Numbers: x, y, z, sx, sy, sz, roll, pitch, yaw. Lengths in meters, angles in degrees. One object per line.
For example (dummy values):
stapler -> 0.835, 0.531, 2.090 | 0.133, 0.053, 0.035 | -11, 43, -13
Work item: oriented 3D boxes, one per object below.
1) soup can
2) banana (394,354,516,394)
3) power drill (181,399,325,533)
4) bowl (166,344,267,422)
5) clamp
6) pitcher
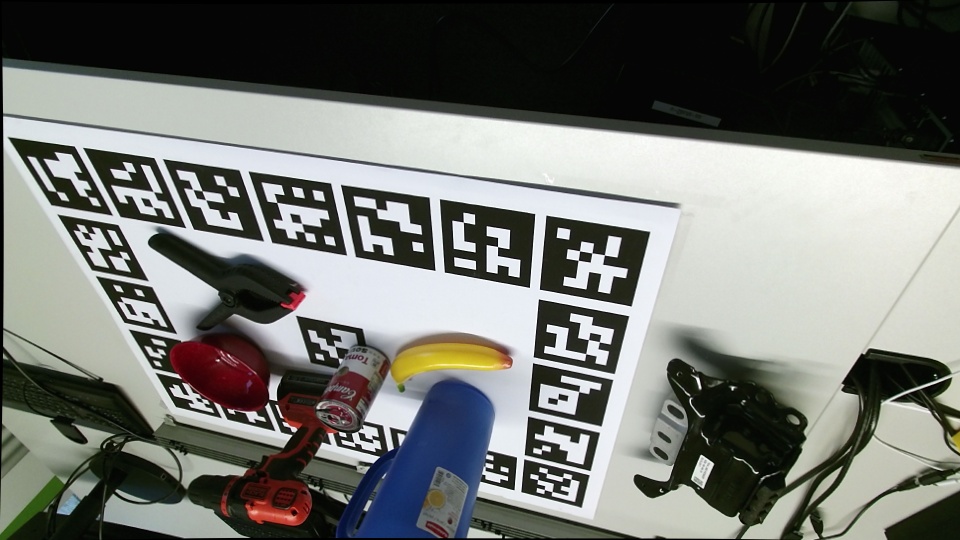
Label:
soup can -> -0.176, 0.181, 0.739 | 0.068, 0.101, 0.068 | 10, 137, 9
banana -> -0.048, 0.140, 0.708 | 0.198, 0.038, 0.074 | -13, 130, 28
power drill -> -0.305, 0.278, 0.775 | 0.185, 0.186, 0.057 | 5, 128, 15
bowl -> -0.391, 0.166, 0.825 | 0.162, 0.055, 0.162 | 8, 128, 11
clamp -> -0.334, 0.049, 0.717 | 0.203, 0.036, 0.165 | 7, 125, 13
pitcher -> -0.075, 0.290, 0.699 | 0.189, 0.241, 0.133 | -12, 125, 26
